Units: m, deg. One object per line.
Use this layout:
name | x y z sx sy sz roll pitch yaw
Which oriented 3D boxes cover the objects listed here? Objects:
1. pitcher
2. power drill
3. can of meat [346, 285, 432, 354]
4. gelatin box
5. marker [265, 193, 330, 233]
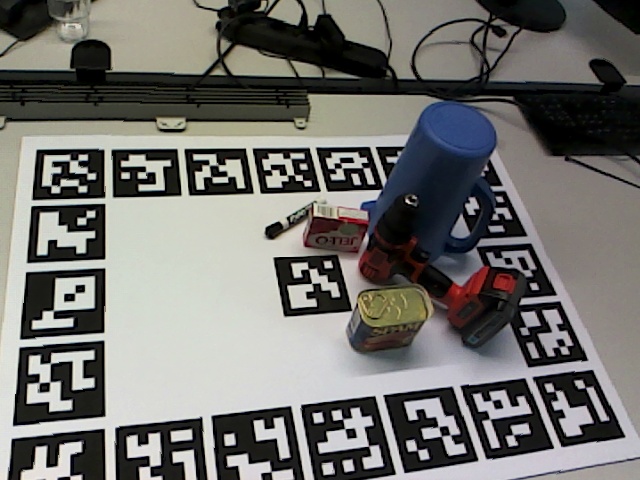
pitcher | 0.184 -0.070 0.923 0.189 0.242 0.133 20 55 10
power drill | 0.153 0.029 0.872 0.187 0.184 0.057 29 56 1
can of meat | 0.092 0.111 0.855 0.101 0.083 0.058 -4 53 -16
gelatin box | 0.032 -0.015 0.946 0.089 0.073 0.030 7 57 -10
marker | -0.036 -0.043 0.981 0.120 0.019 0.020 -28 65 -28
